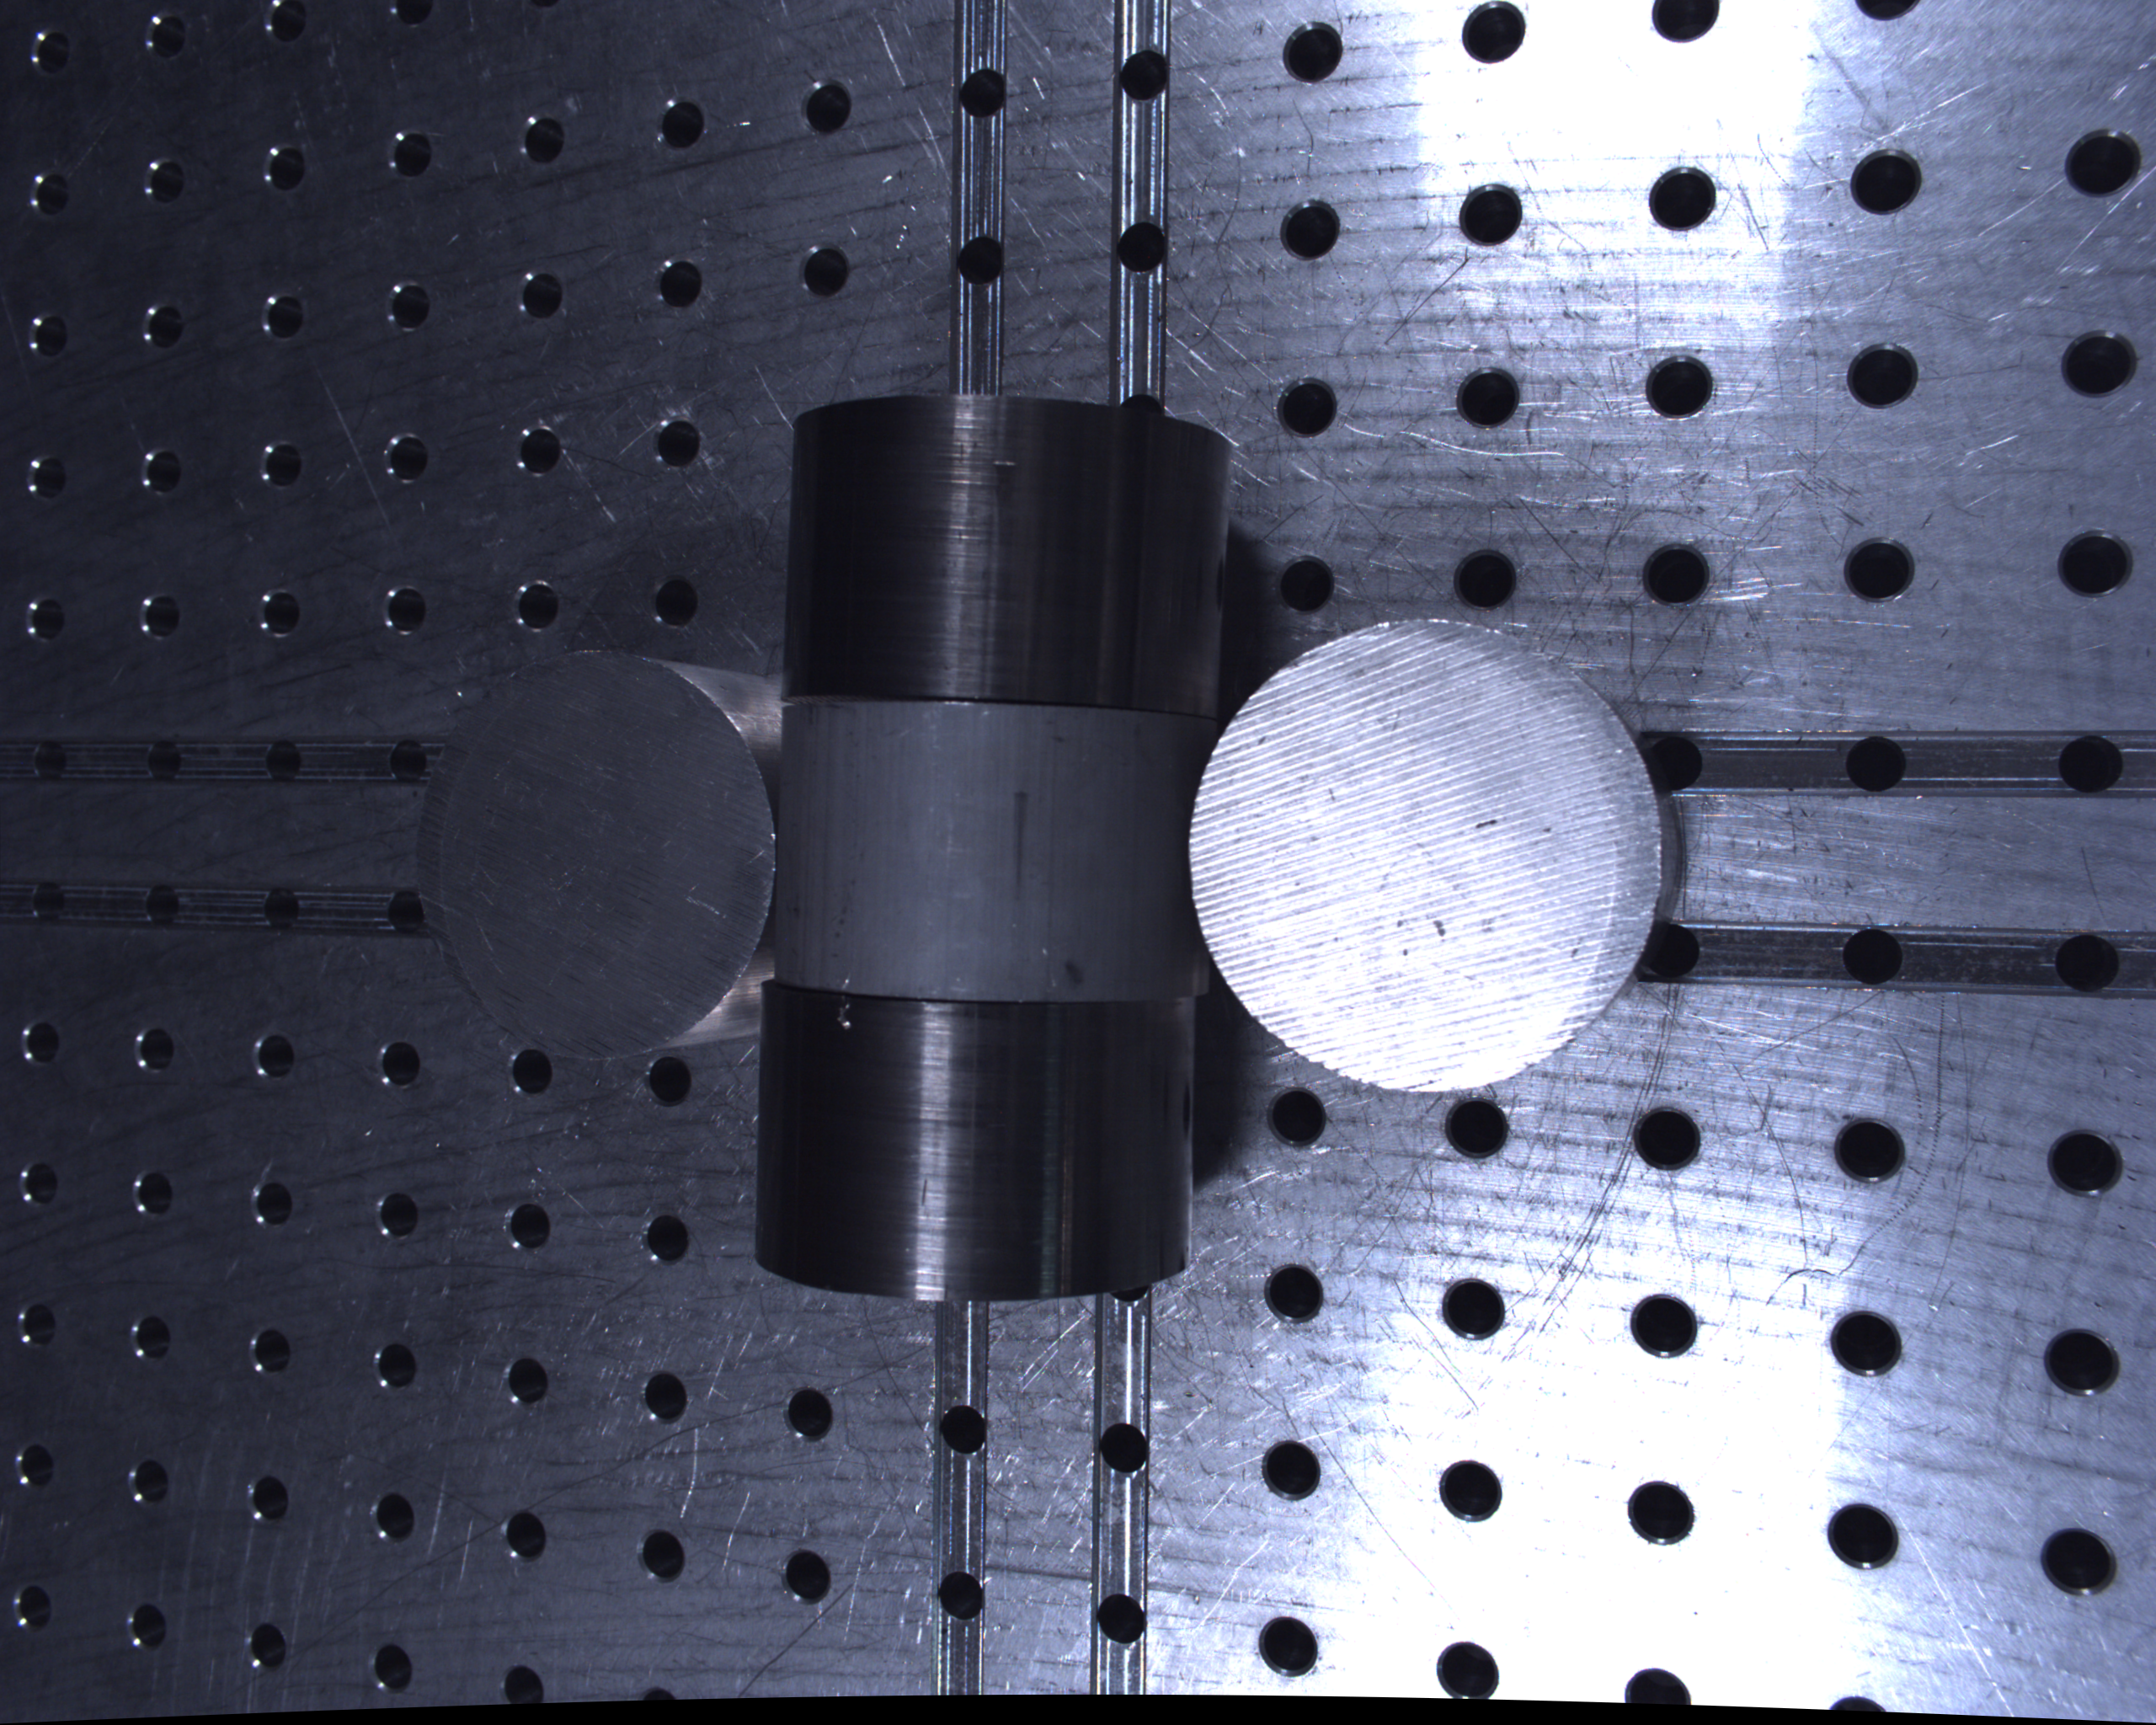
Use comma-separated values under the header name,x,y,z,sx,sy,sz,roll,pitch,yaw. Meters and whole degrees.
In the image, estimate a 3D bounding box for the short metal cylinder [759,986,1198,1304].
name,x,y,z,sx,sy,sz,roll,pitch,yaw
short metal cylinder,-0.018,0.048,0.388,0.080,0.080,0.050,1,91,19

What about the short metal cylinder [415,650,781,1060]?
name,x,y,z,sx,sy,sz,roll,pitch,yaw
short metal cylinder,-0.086,-0.002,0.428,0.080,0.050,0.079,0,90,19

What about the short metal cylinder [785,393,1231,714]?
name,x,y,z,sx,sy,sz,roll,pitch,yaw
short metal cylinder,-0.013,-0.054,0.386,0.080,0.080,0.050,3,91,19

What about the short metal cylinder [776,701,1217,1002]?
name,x,y,z,sx,sy,sz,roll,pitch,yaw
short metal cylinder,-0.015,-0.002,0.387,0.080,0.080,0.050,2,91,19

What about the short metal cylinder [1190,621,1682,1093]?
name,x,y,z,sx,sy,sz,roll,pitch,yaw
short metal cylinder,0.066,-0.001,0.375,0.080,0.050,0.079,0,90,19
